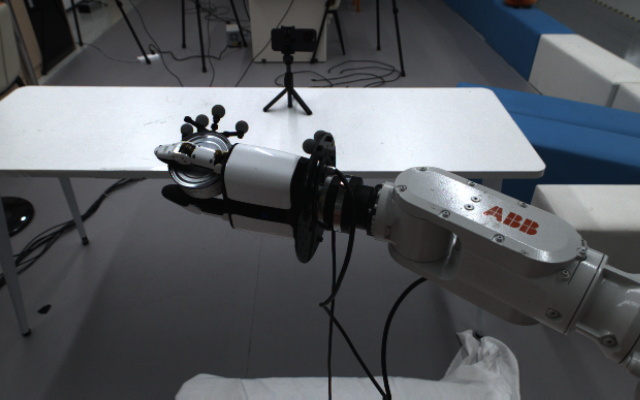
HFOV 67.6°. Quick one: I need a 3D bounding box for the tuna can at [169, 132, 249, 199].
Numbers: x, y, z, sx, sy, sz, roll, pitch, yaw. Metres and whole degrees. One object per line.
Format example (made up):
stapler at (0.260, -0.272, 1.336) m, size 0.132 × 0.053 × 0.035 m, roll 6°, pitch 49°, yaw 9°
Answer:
tuna can at (-0.149, -0.045, 0.622) m, size 0.085 × 0.034 × 0.085 m, roll -6°, pitch 58°, yaw 10°
